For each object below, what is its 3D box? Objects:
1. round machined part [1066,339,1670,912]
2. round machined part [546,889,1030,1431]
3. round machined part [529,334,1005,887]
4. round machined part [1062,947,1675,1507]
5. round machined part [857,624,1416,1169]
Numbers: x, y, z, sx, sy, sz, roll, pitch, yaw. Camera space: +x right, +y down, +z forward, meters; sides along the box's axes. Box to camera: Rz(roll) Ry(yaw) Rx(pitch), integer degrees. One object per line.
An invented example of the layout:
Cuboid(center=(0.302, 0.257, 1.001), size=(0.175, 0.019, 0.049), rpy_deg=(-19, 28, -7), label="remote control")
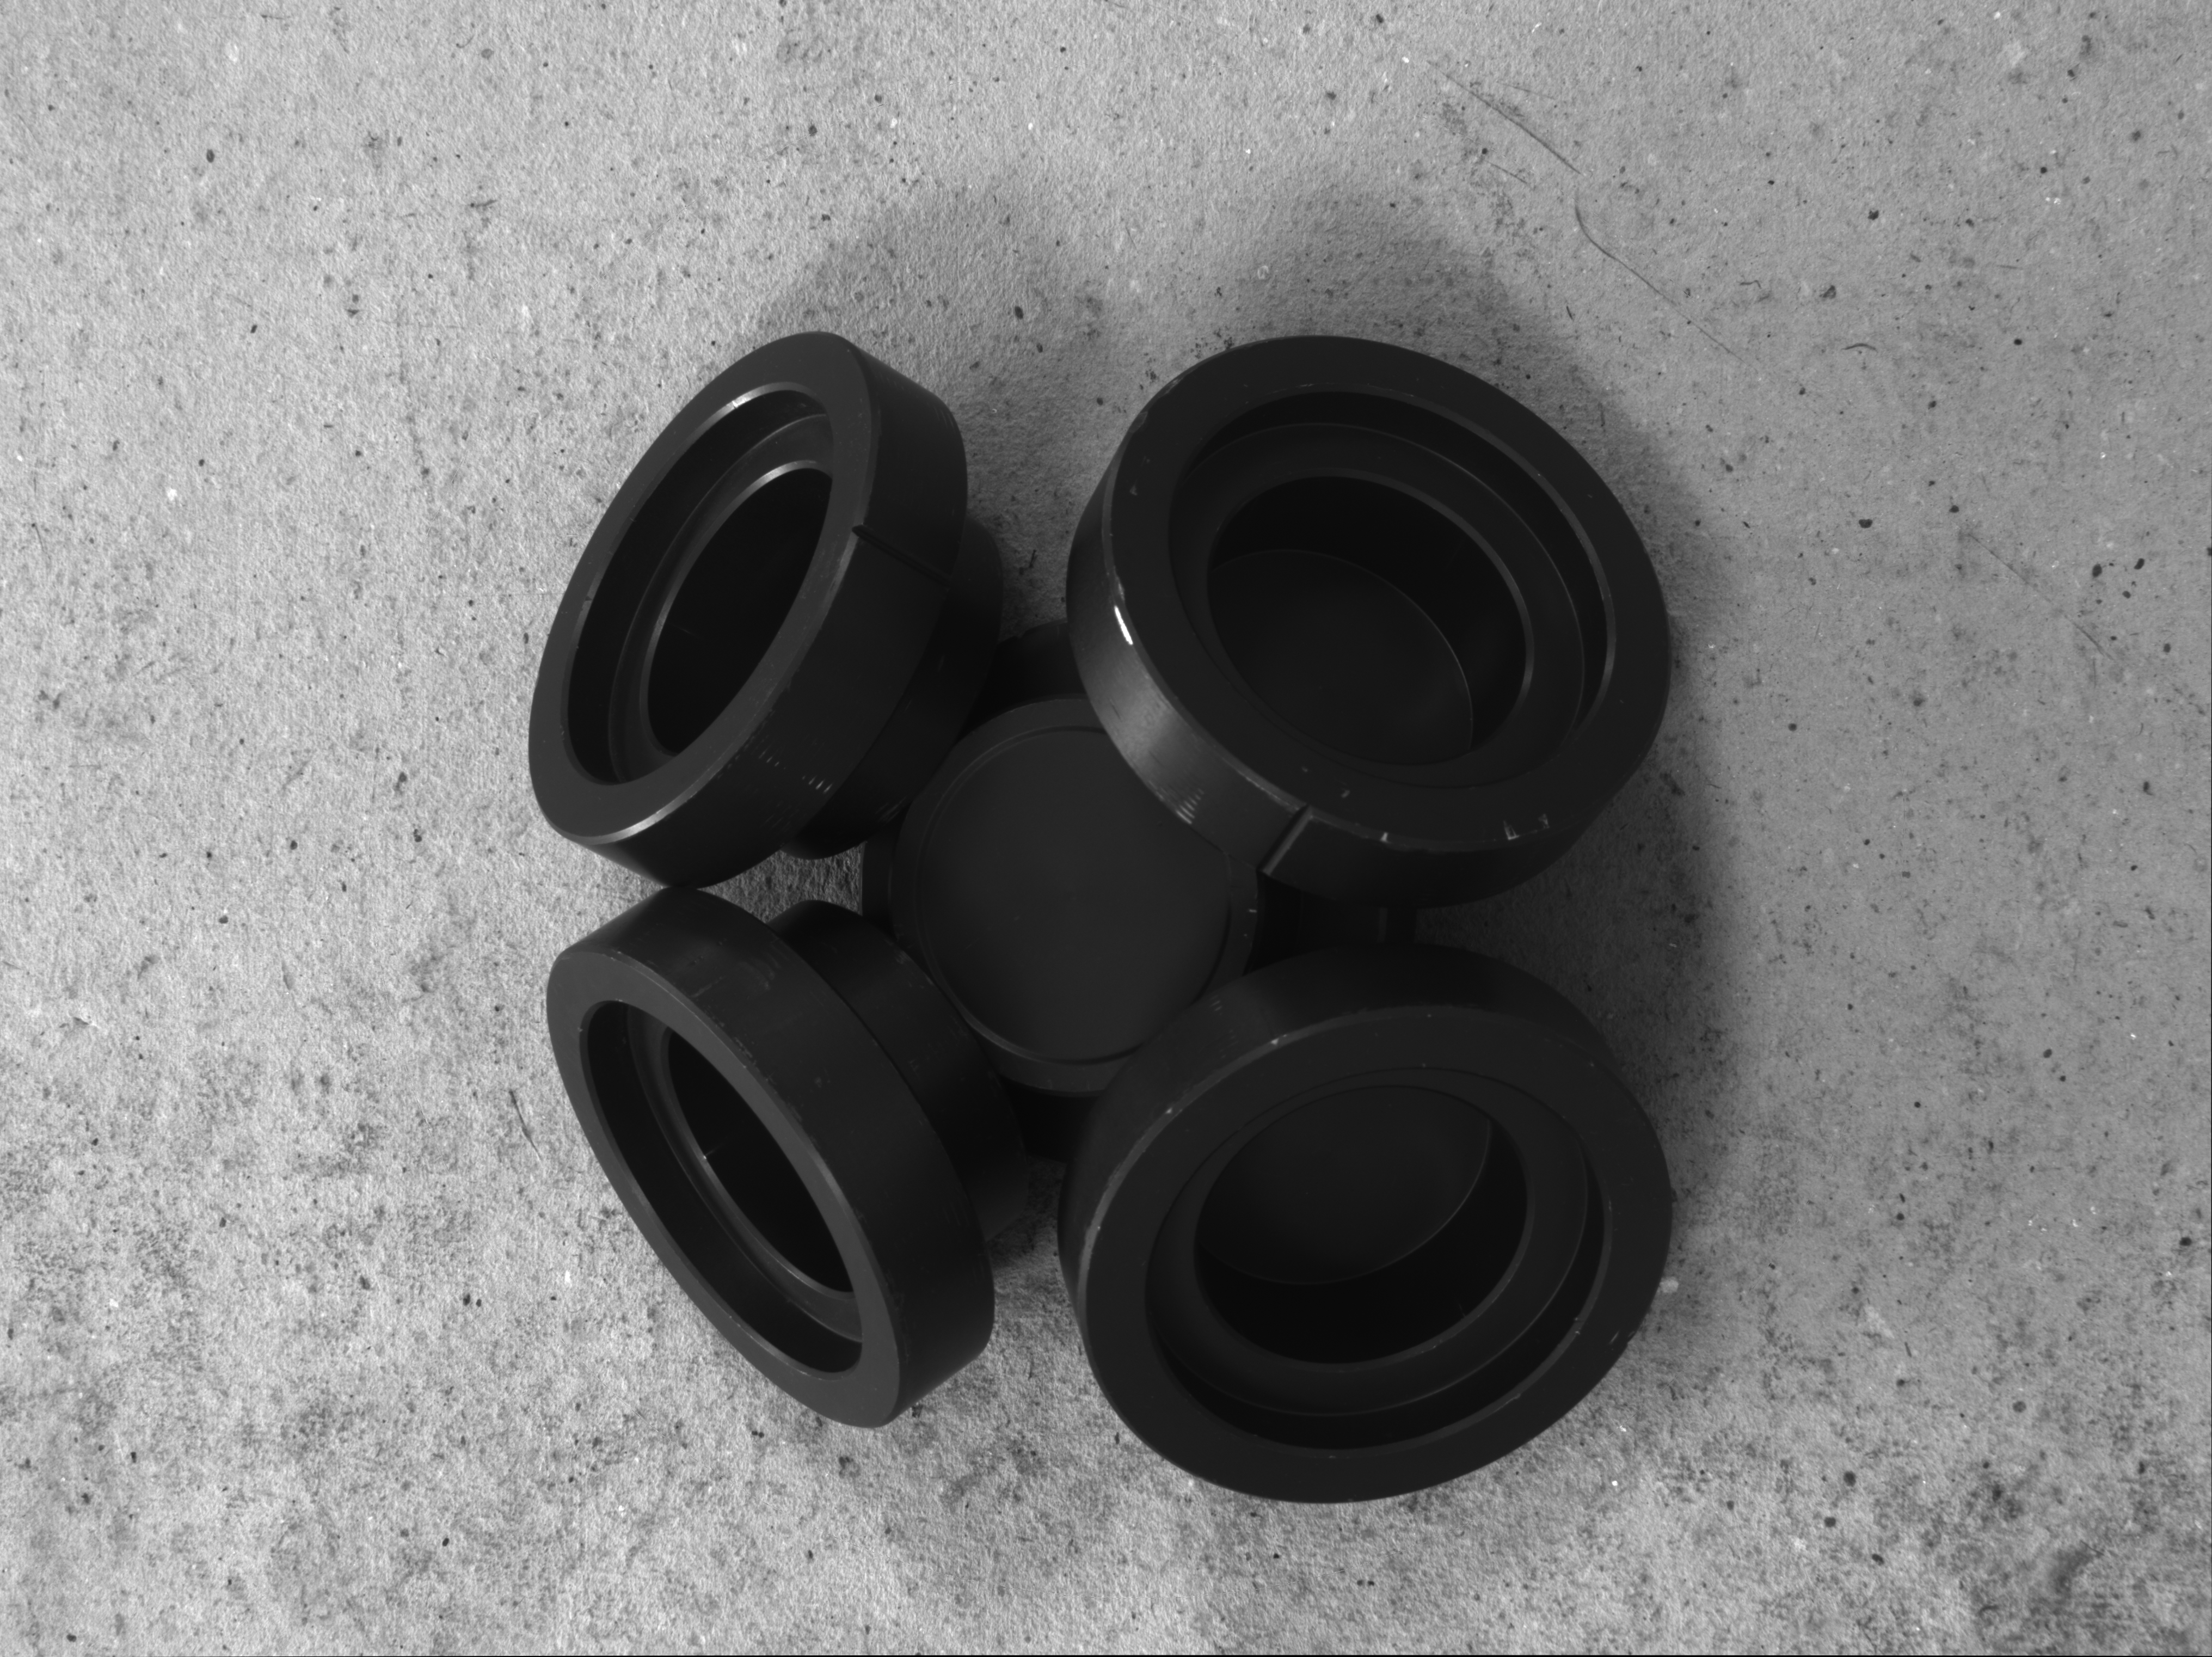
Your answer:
Cuboid(center=(0.040, -0.029, 0.604), size=(0.098, 0.098, 0.042), rpy_deg=(52, 146, 13), label="round machined part")
Cuboid(center=(-0.051, 0.052, 0.637), size=(0.042, 0.098, 0.098), rpy_deg=(-34, 74, -28), label="round machined part")
Cuboid(center=(-0.055, -0.033, 0.640), size=(0.098, 0.042, 0.098), rpy_deg=(-34, 41, 36), label="round machined part")
Cuboid(center=(0.041, 0.061, 0.605), size=(0.098, 0.042, 0.098), rpy_deg=(-6, 121, -9), label="round machined part")
Cuboid(center=(0.001, 0.011, 0.636), size=(0.098, 0.042, 0.098), rpy_deg=(-1, 88, 19), label="round machined part")
